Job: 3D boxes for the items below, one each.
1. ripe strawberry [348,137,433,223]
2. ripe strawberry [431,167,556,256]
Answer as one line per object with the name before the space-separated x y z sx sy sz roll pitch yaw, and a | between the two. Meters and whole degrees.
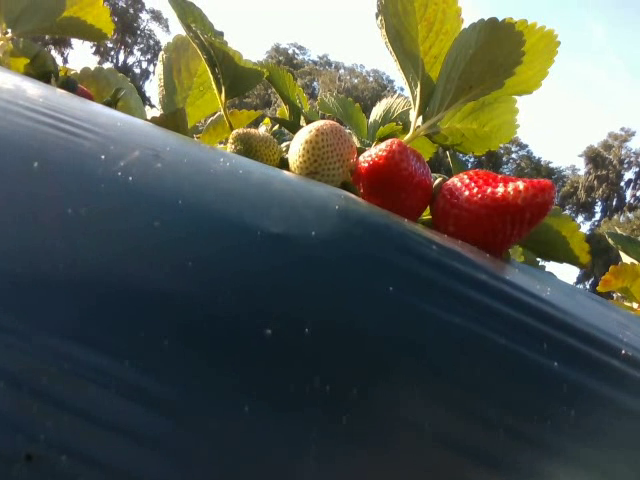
ripe strawberry | 0.035 -0.032 0.281 0.050 0.044 0.061 40 -9 17
ripe strawberry | 0.086 -0.015 0.282 0.056 0.052 0.067 -10 -6 -42
